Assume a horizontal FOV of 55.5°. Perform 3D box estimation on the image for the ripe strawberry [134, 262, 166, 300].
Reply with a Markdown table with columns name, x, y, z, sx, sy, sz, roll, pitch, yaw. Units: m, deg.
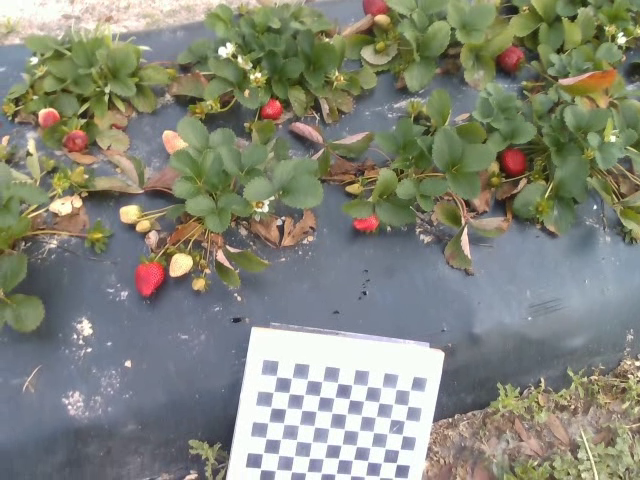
| name | x | y | z | sx | sy | sz | roll | pitch | yaw |
| --- | --- | --- | --- | --- | --- | --- | --- | --- | --- |
| ripe strawberry | -0.237 | 0.054 | 0.840 | 0.050 | 0.059 | 0.034 | -3 | -43 | -10 |
